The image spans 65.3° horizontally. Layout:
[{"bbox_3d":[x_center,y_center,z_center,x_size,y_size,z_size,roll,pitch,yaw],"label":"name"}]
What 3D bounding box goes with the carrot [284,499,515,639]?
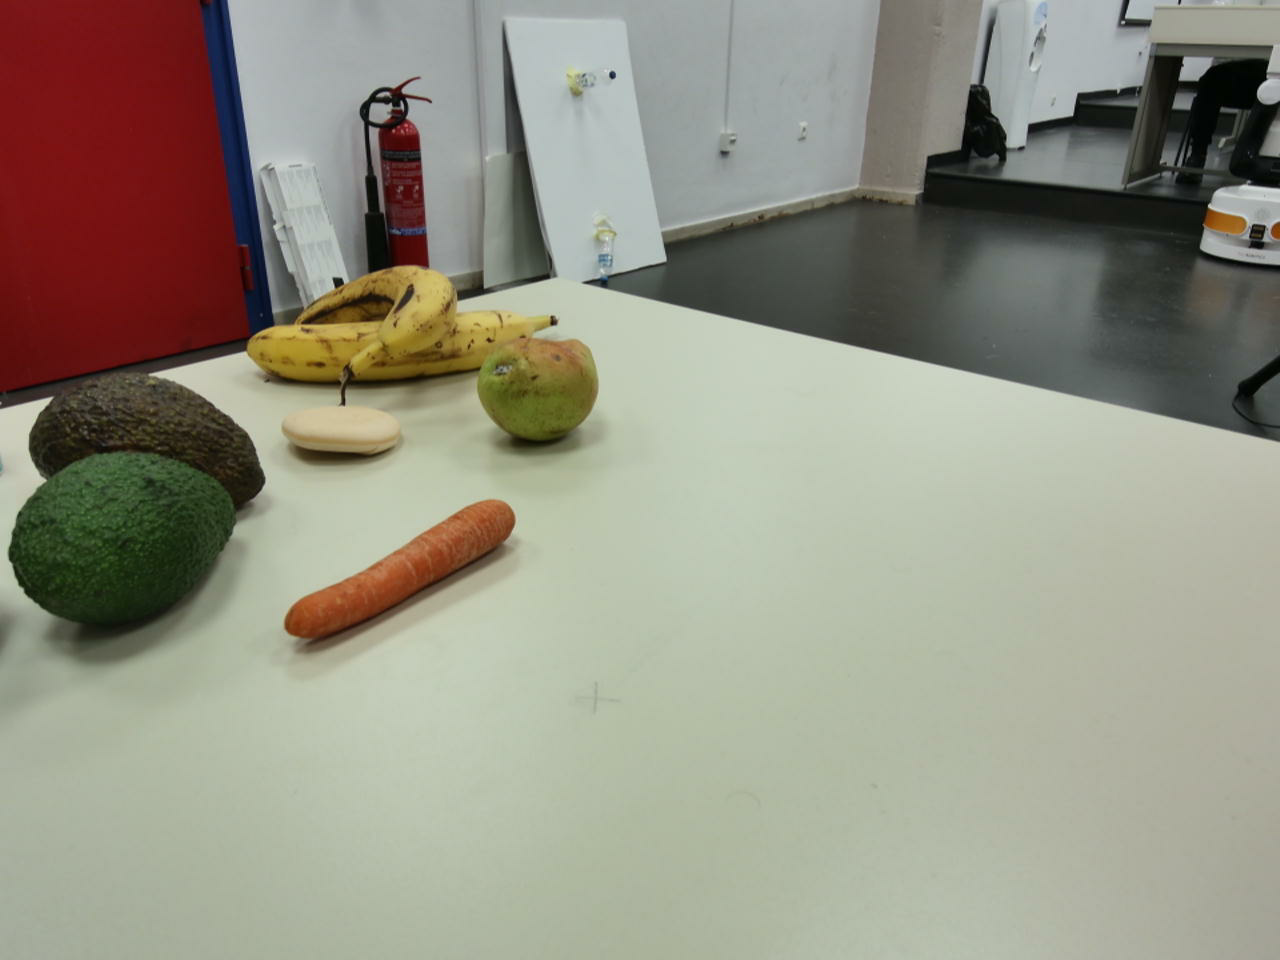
[{"bbox_3d":[-0.098,0.036,0.423,0.024,0.023,0.122,17,28,33],"label":"carrot"}]
